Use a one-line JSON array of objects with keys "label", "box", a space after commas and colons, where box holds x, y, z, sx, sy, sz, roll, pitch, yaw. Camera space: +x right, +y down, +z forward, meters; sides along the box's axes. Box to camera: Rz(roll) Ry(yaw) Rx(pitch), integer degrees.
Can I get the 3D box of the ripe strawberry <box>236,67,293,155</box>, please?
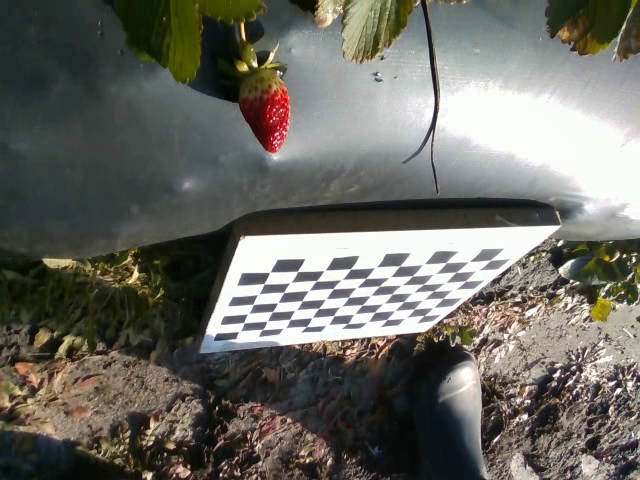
[{"label": "ripe strawberry", "box": [-0.024, -0.057, 0.281, 0.028, 0.041, 0.031, -13, 8, 3]}]
